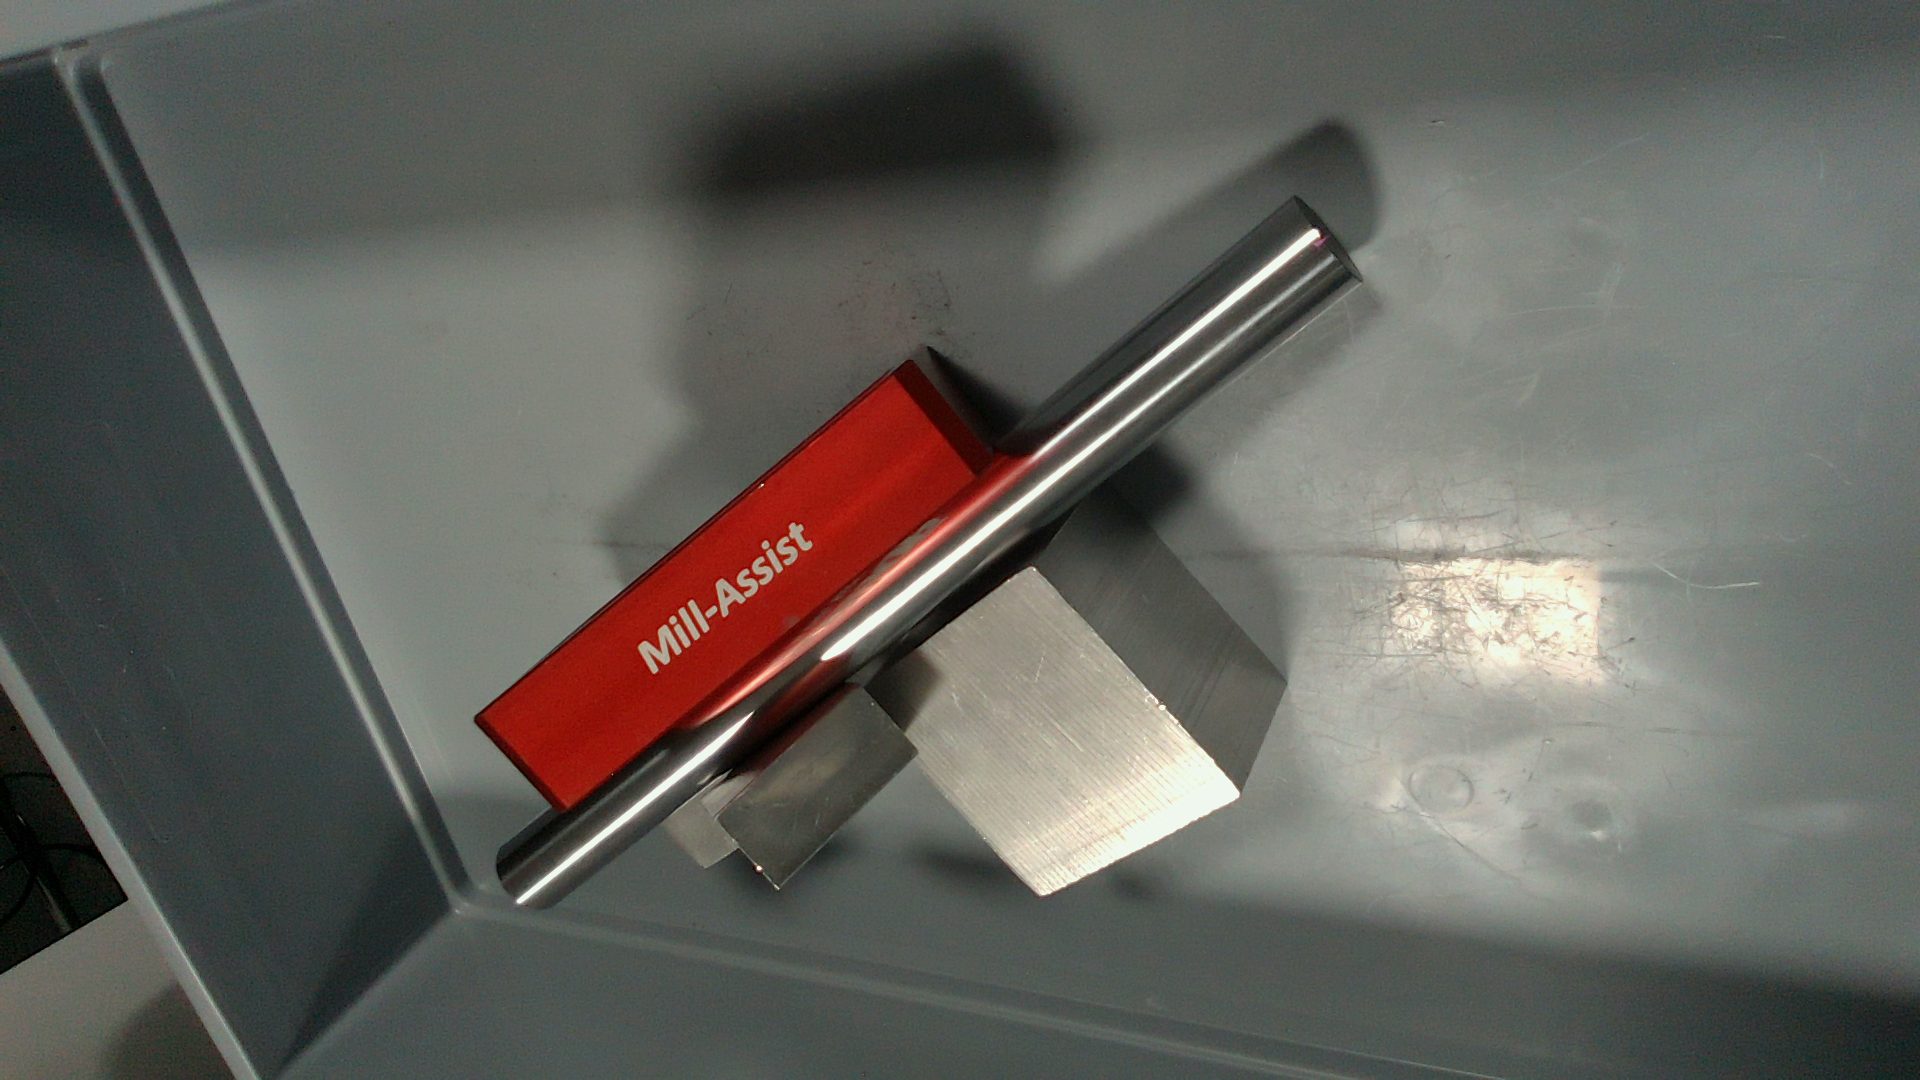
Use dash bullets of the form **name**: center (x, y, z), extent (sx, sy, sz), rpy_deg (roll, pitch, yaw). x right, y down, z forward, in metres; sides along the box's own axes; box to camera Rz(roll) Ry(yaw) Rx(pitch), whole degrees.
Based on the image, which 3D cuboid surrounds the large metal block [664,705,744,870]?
- **large metal block**: center (-0.076, 0.048, 0.444), extent (0.080, 0.050, 0.080), rpy_deg (47, 129, -5)

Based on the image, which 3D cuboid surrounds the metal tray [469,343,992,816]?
- **metal tray**: center (-0.052, 0.005, 0.346), extent (0.130, 0.090, 0.030), rpy_deg (-39, 99, 7)

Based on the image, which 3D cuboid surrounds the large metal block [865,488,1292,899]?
- **large metal block**: center (0.031, 0.042, 0.385), extent (0.080, 0.050, 0.080), rpy_deg (47, 129, -5)

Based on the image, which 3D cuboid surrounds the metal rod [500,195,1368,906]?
- **metal rod**: center (-0.024, 0.017, 0.367), extent (0.299, 0.025, 0.025), rpy_deg (-38, 97, 24)

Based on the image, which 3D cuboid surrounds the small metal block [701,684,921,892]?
- **small metal block**: center (-0.043, 0.065, 0.376), extent (0.025, 0.050, 0.050), rpy_deg (50, 166, -6)
